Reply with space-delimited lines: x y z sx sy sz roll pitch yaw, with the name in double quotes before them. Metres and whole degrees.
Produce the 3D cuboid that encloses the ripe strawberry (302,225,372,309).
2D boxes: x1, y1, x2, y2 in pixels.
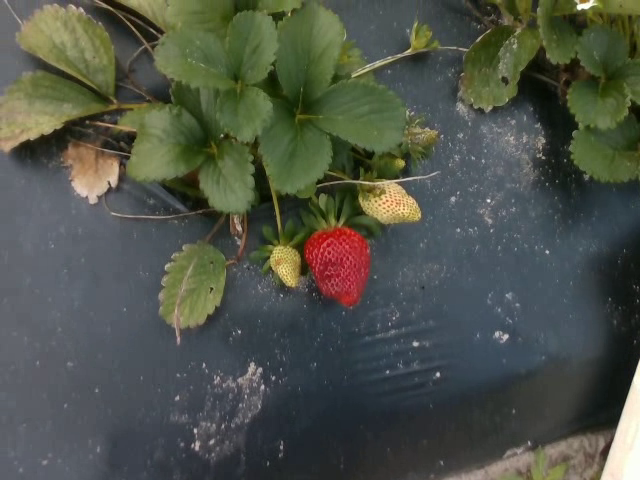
"ripe strawberry" 0.014 0.020 0.388 0.046 0.059 0.046 -11 -37 -6
